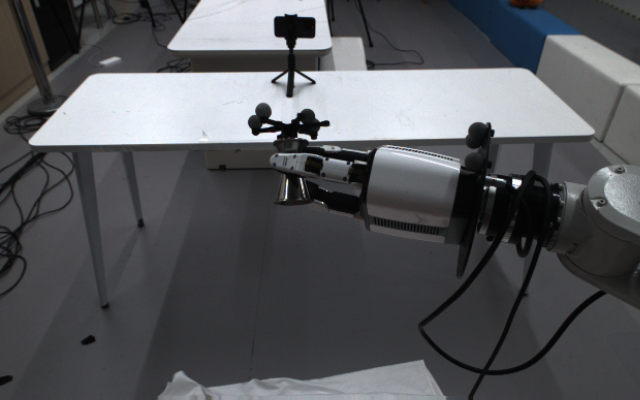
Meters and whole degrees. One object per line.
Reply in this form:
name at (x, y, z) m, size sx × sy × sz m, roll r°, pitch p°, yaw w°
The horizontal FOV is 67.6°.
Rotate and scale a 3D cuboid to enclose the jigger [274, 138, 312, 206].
jigger at (-0.031, -0.031, 0.530) m, size 0.043 × 0.071 × 0.043 m, roll -2°, pitch -7°, yaw 0°
